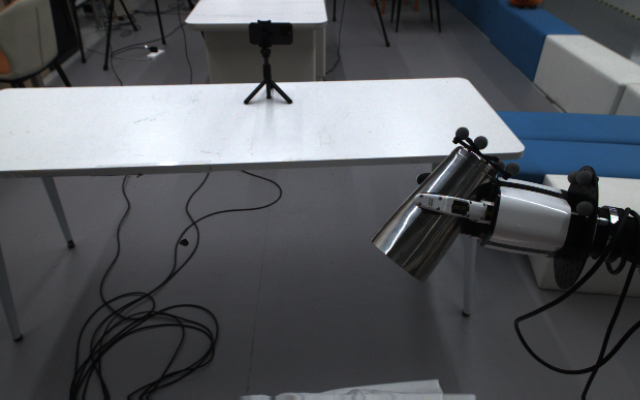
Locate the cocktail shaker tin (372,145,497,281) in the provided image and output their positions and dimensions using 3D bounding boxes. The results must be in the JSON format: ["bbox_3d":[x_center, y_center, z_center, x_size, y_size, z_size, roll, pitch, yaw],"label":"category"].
[{"bbox_3d":[0.156,0.012,0.646,0.170,0.093,0.093,-50,46,3],"label":"cocktail shaker tin"}]
